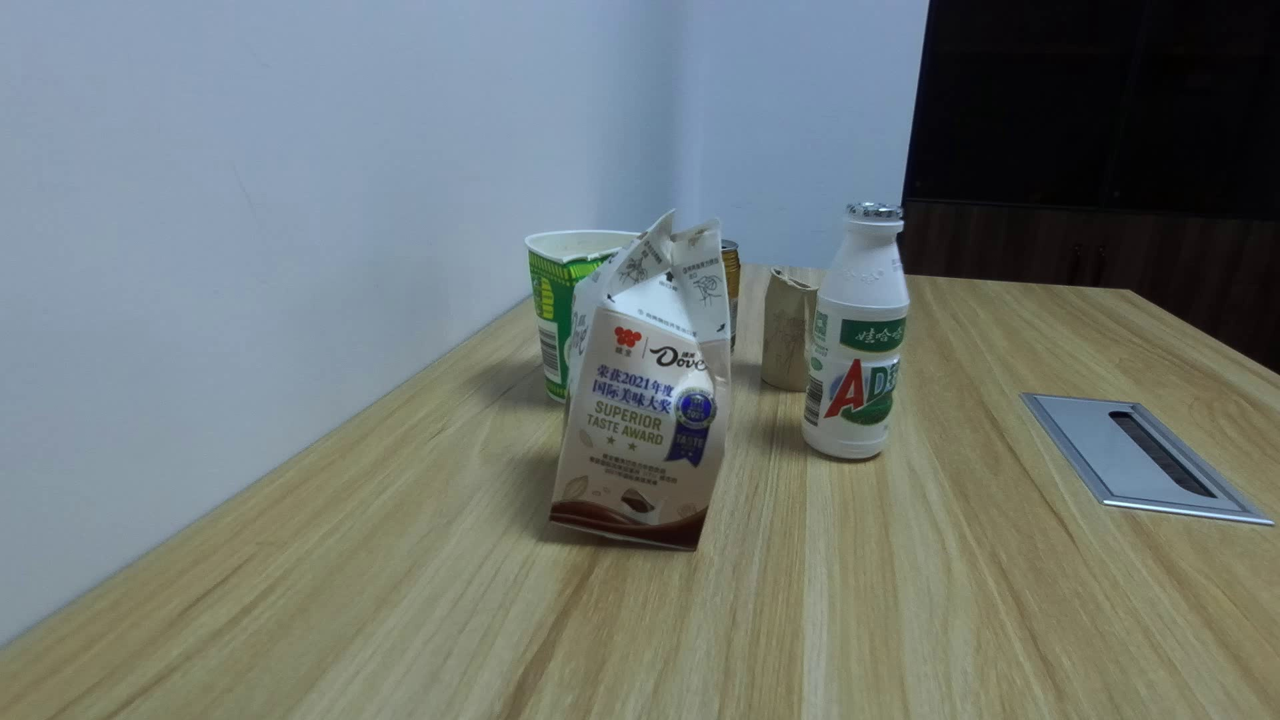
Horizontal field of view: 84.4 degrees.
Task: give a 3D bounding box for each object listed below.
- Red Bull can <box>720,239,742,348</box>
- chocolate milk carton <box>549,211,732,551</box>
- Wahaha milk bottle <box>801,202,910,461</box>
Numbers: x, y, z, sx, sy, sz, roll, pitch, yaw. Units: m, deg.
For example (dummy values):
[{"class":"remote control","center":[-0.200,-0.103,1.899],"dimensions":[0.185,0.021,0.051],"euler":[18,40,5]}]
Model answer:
[{"class":"Red Bull can","center":[0.050,-0.055,0.599],"dimensions":[0.068,0.093,0.068],"euler":[4,9,0]},{"class":"chocolate milk carton","center":[0.002,0.007,0.346],"dimensions":[0.077,0.155,0.089],"euler":[5,6,-2]},{"class":"Wahaha milk bottle","center":[0.128,-0.016,0.413],"dimensions":[0.053,0.147,0.053],"euler":[2,19,0]}]
